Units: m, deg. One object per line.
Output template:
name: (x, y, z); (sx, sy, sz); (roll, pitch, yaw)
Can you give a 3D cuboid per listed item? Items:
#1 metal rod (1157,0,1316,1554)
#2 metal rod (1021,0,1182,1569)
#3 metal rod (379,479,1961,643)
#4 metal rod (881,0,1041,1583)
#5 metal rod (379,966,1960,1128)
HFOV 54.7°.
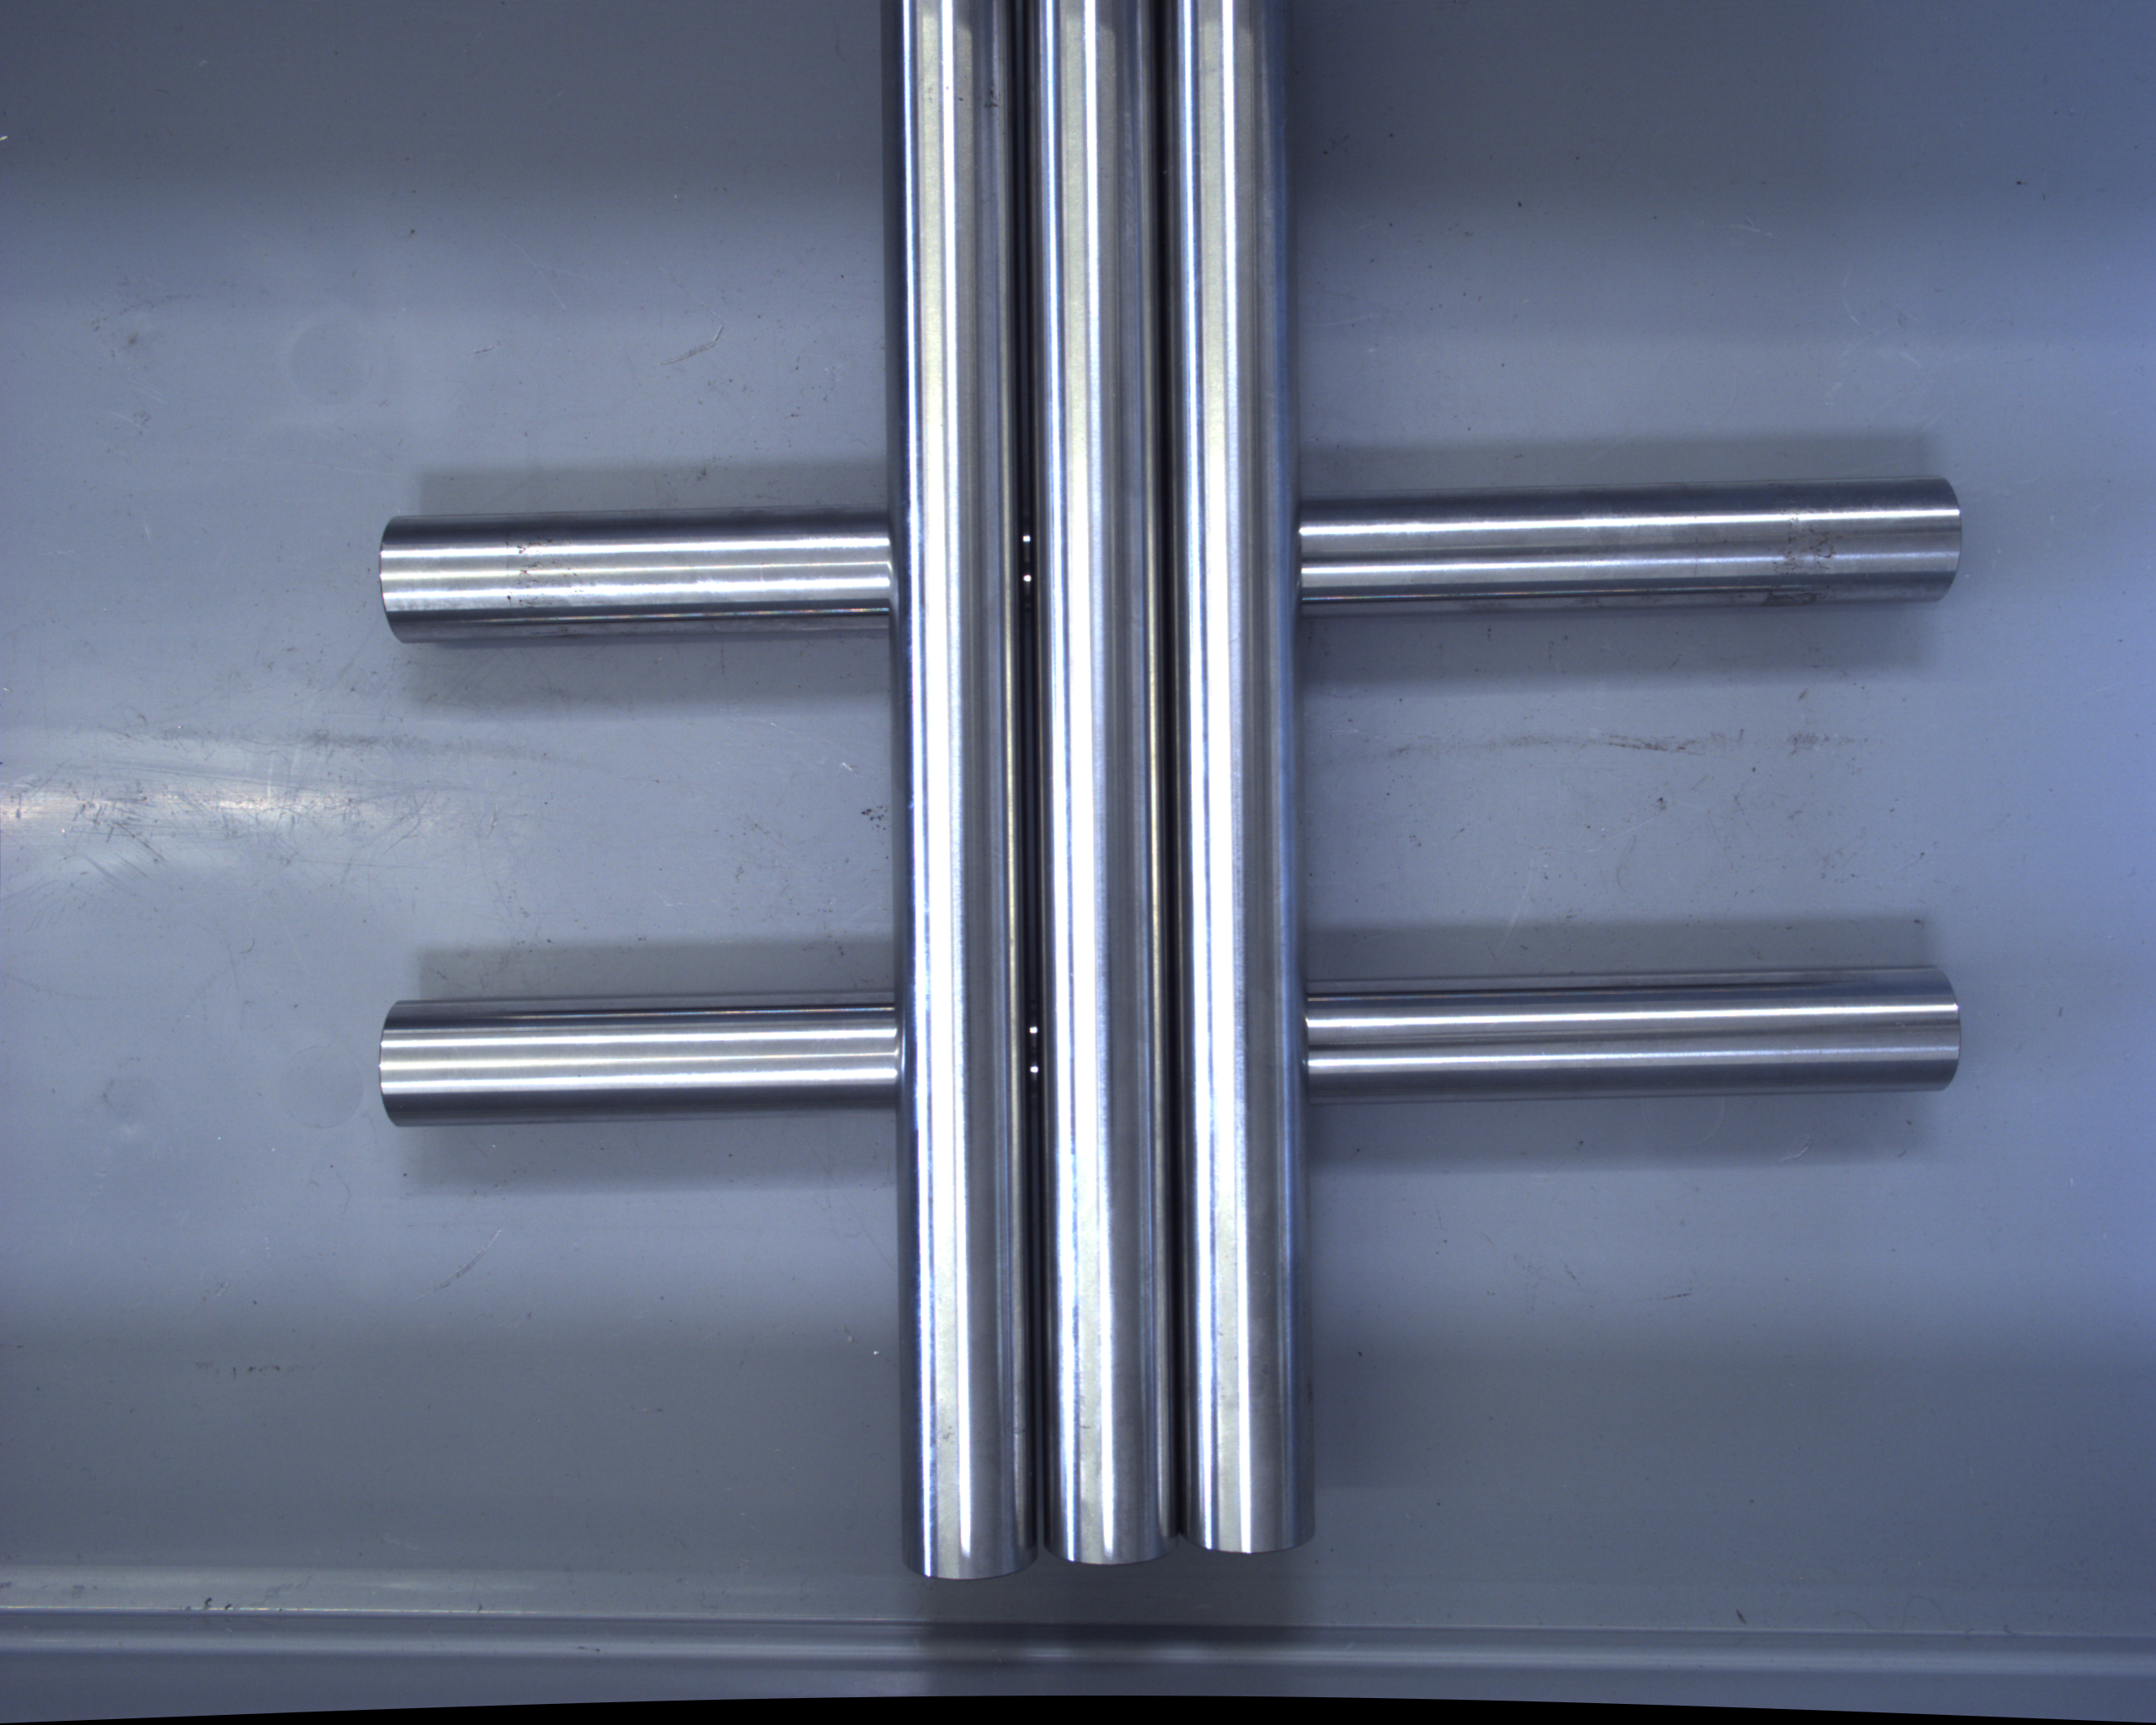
metal rod: (0.029, -0.026, 0.384); (0.025, 0.025, 0.298); (-1, 90, 0)
metal rod: (0.004, -0.023, 0.384); (0.025, 0.025, 0.298); (-1, 90, 0)
metal rod: (0.018, -0.059, 0.410); (0.302, 0.025, 0.025); (-1, 90, 0)
metal rod: (-0.022, -0.021, 0.384); (0.025, 0.025, 0.298); (-1, 90, 0)
metal rod: (0.018, 0.036, 0.410); (0.302, 0.025, 0.025); (-1, 90, 0)
